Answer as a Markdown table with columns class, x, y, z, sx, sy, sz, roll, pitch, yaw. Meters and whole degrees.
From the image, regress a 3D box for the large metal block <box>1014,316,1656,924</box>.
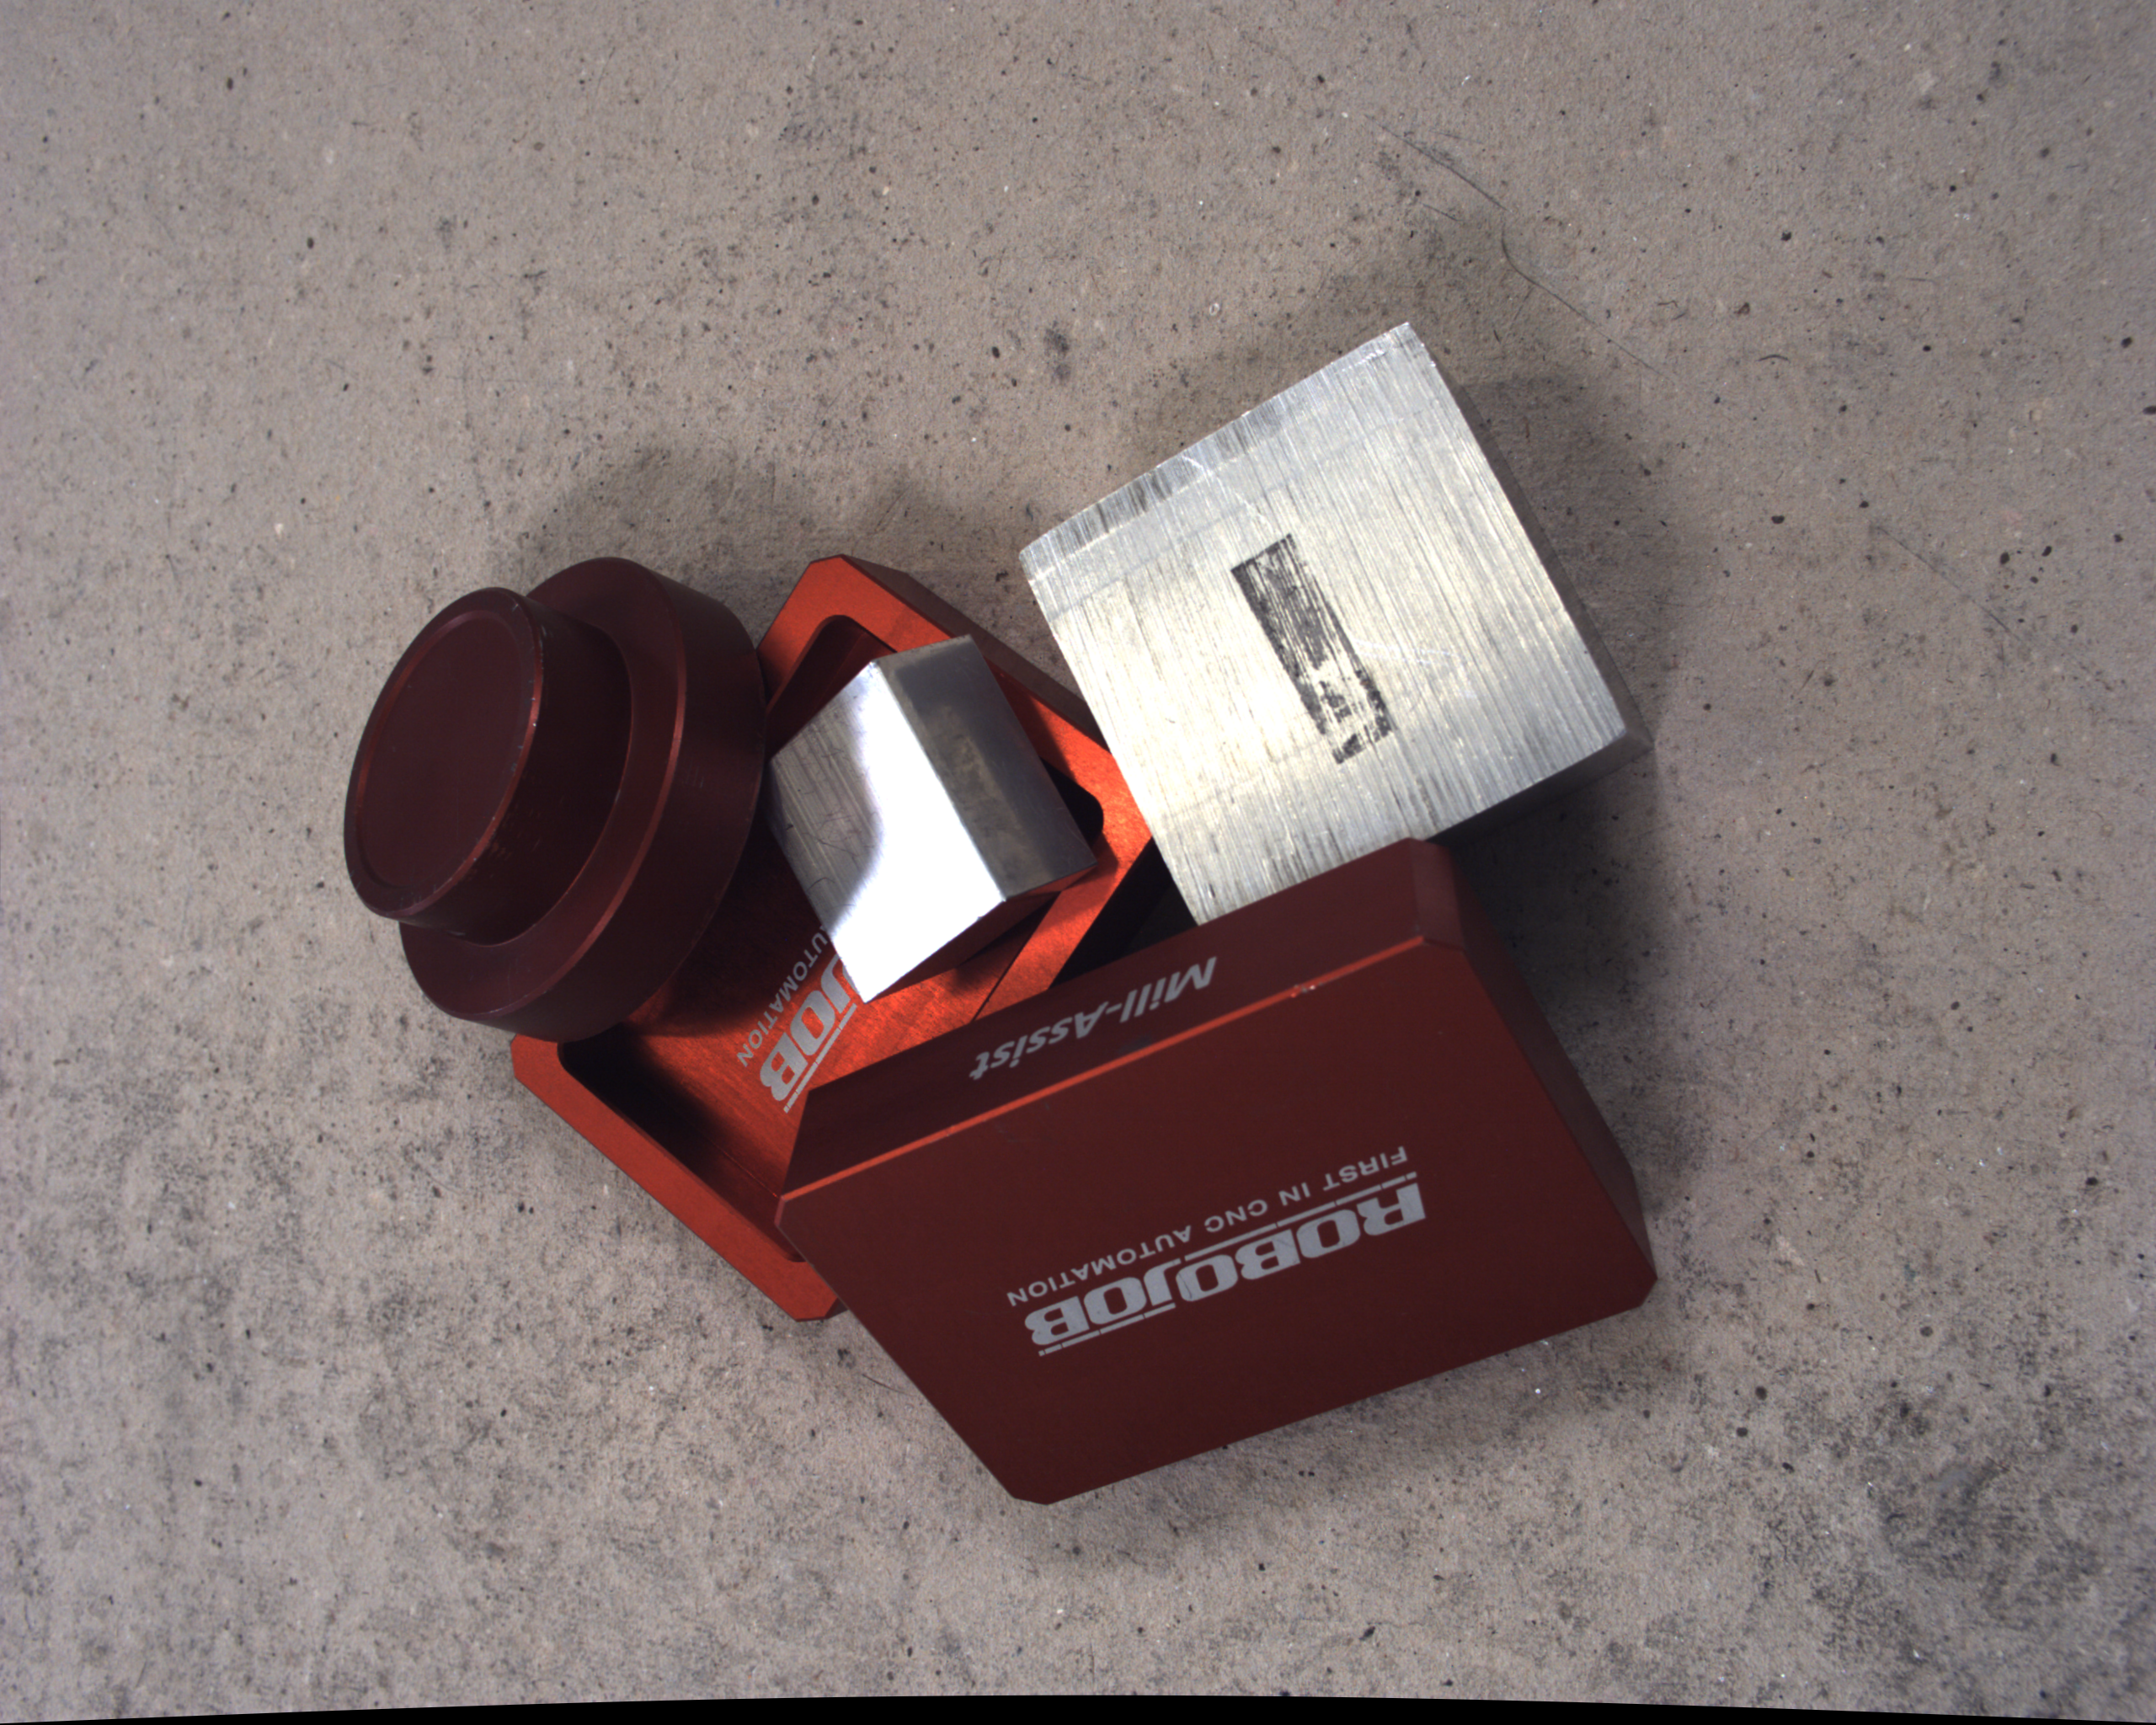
| class | x | y | z | sx | sy | sz | roll | pitch | yaw |
| --- | --- | --- | --- | --- | --- | --- | --- | --- | --- |
| large metal block | 0.048 | -0.039 | 0.380 | 0.080 | 0.050 | 0.080 | -28 | 81 | 17 |

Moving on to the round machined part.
| class | x | y | z | sx | sy | sz | roll | pitch | yaw |
| --- | --- | --- | --- | --- | --- | --- | --- | --- | --- |
| round machined part | -0.110 | -0.016 | 0.418 | 0.098 | 0.042 | 0.098 | -20 | 59 | 38 |

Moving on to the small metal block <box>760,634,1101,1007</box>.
| class | x | y | z | sx | sy | sz | roll | pitch | yaw |
| --- | --- | --- | --- | --- | --- | --- | --- | --- | --- |
| small metal block | -0.031 | -0.008 | 0.397 | 0.050 | 0.025 | 0.050 | -37 | 79 | 45 |

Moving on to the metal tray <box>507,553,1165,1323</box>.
| class | x | y | z | sx | sy | sz | roll | pitch | yaw |
| --- | --- | --- | --- | --- | --- | --- | --- | --- | --- |
| metal tray | -0.046 | 0.015 | 0.423 | 0.090 | 0.030 | 0.129 | 37 | 101 | 16 |

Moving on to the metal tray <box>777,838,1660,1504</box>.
| class | x | y | z | sx | sy | sz | roll | pitch | yaw |
| --- | --- | --- | --- | --- | --- | --- | --- | --- | --- |
| metal tray | 0.025 | 0.060 | 0.374 | 0.130 | 0.030 | 0.090 | -24 | 118 | 19 |
